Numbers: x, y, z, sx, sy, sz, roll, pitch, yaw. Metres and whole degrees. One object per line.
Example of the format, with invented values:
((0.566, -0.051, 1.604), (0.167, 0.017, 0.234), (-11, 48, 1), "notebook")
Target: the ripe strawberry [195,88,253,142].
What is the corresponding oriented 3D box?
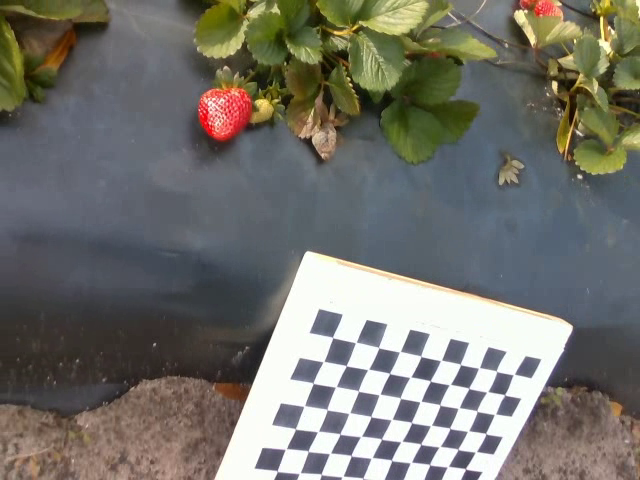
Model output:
((-0.075, -0.094, 0.458), (0.045, 0.058, 0.050), (19, -36, -24), "ripe strawberry")
